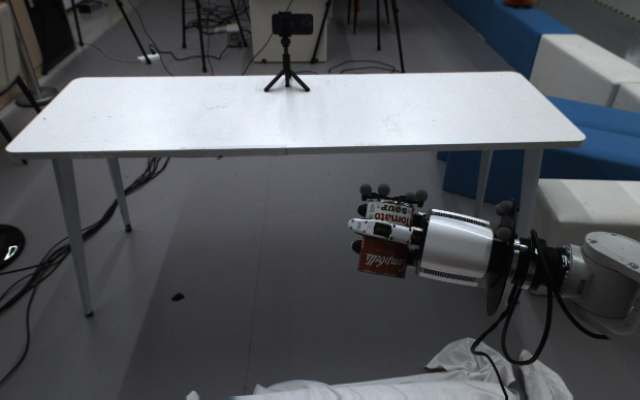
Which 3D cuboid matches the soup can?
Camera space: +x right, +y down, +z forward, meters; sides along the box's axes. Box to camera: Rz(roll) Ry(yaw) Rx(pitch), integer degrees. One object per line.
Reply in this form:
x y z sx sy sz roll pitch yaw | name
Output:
0.094 0.054 0.676 0.067 0.101 0.067 9 -6 1 | soup can
